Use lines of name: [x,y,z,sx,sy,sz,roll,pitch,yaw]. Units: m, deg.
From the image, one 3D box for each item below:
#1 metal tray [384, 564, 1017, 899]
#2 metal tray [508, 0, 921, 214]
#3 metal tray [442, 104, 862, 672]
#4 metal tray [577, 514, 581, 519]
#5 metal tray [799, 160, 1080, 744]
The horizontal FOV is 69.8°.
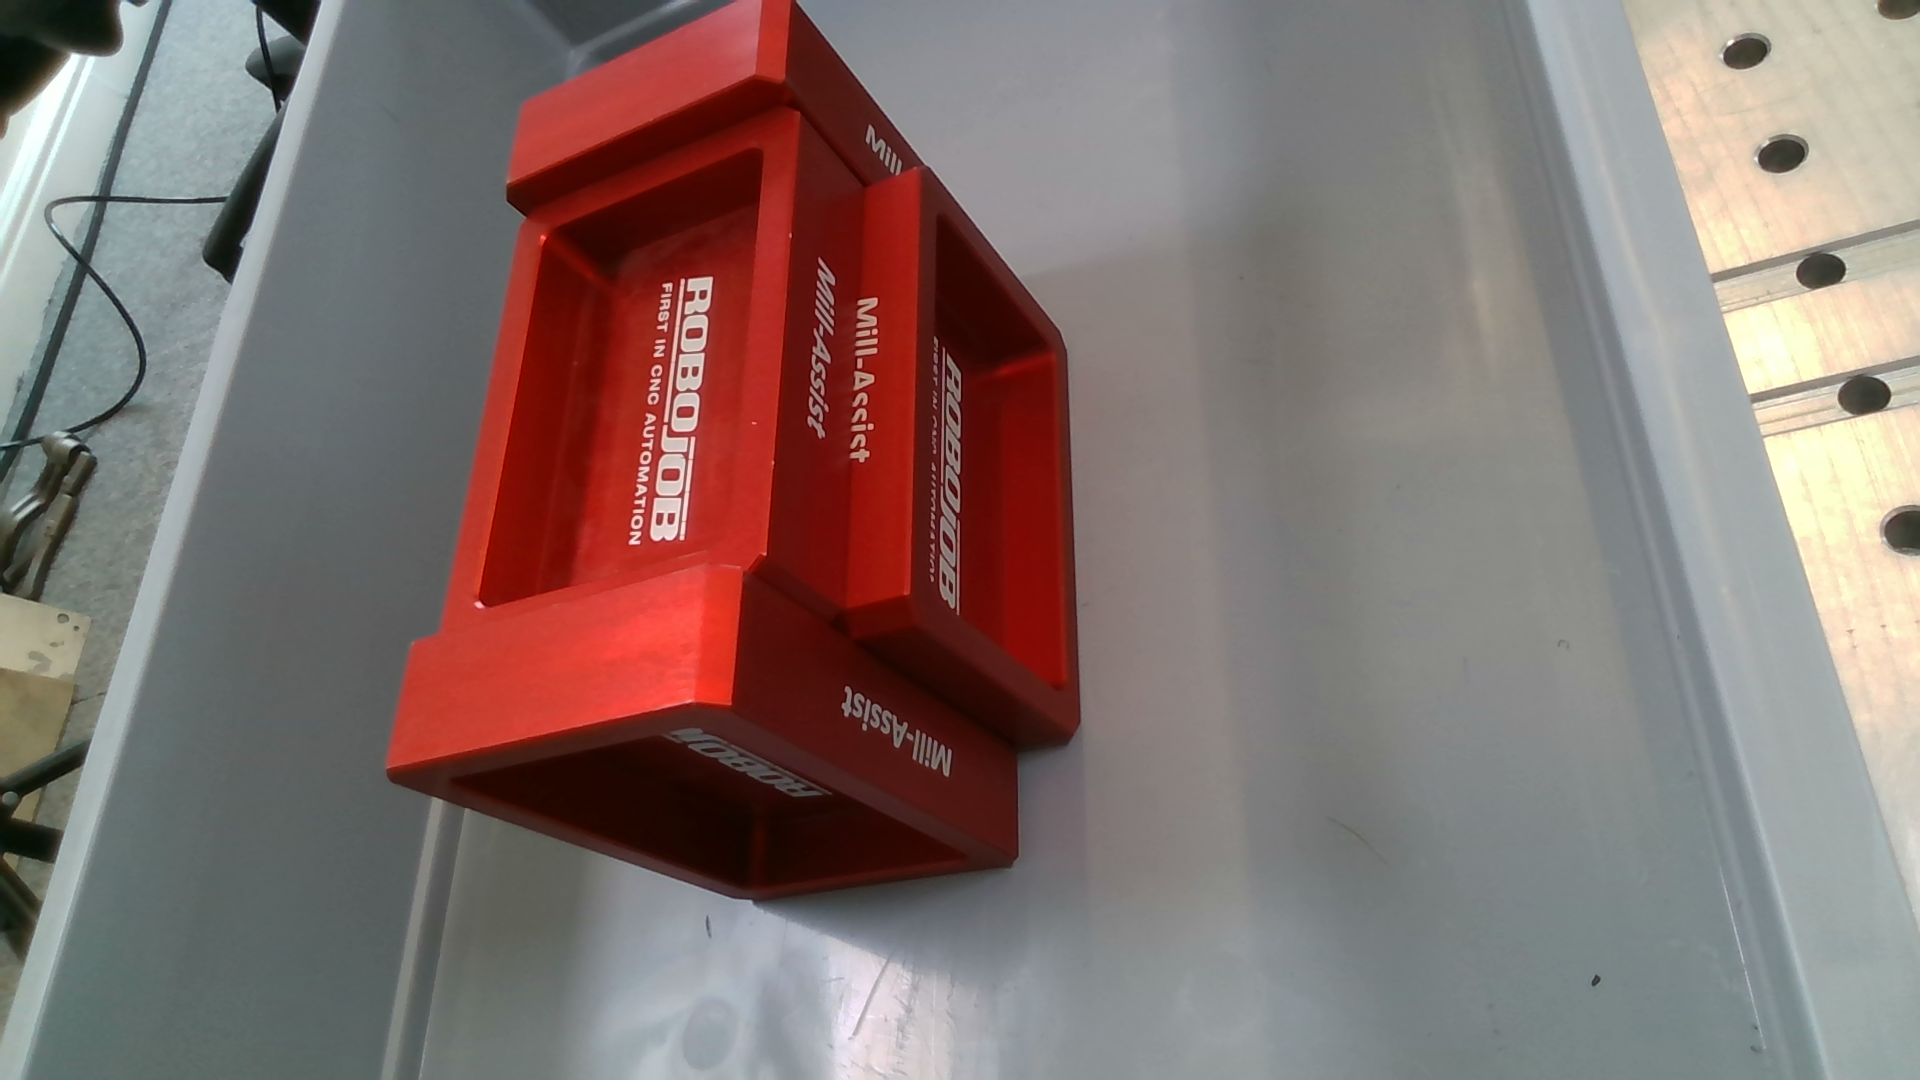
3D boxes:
metal tray: [-0.054,0.053,0.328,0.090,0.130,0.030,-14,59,26]
metal tray: [-0.053,-0.089,0.404,0.090,0.130,0.030,-14,59,25]
metal tray: [-0.072,-0.035,0.334,0.090,0.030,0.130,-13,59,25]
metal tray: [-0.082,-0.001,0.399,0.030,0.090,0.130,-14,59,25]
metal tray: [-0.003,-0.021,0.360,0.030,0.090,0.130,-14,58,26]
